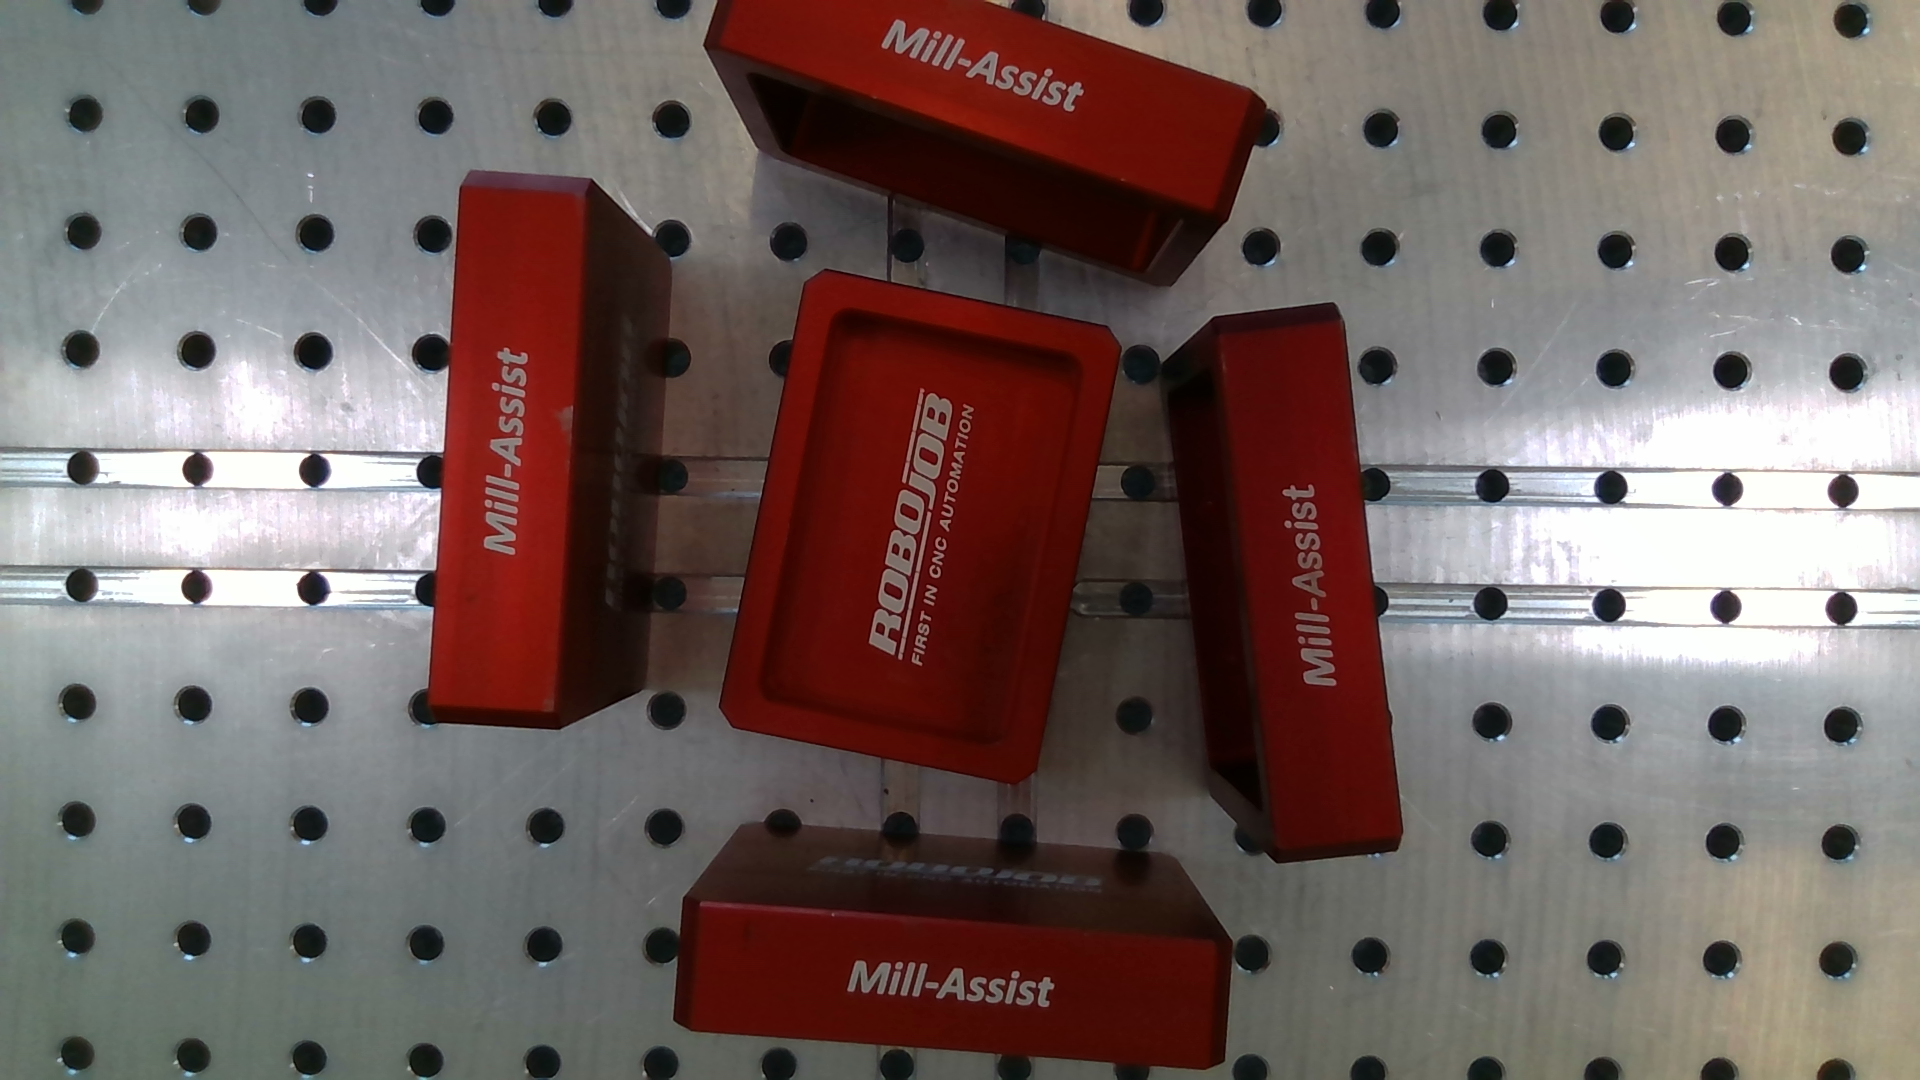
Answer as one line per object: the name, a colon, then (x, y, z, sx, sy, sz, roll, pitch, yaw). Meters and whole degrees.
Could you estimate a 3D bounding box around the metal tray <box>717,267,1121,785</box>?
metal tray: (-0.011, -0.004, 0.394, 0.090, 0.030, 0.130, 11, 90, 0)

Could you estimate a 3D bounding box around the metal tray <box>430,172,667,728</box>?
metal tray: (-0.105, -0.021, 0.365, 0.030, 0.090, 0.130, 4, 90, 0)

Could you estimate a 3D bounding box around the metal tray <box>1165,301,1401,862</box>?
metal tray: (0.081, 0.010, 0.365, 0.030, 0.090, 0.130, -6, 90, 0)

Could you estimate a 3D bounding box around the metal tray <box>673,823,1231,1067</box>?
metal tray: (-0.002, 0.104, 0.365, 0.130, 0.090, 0.030, 4, 90, 0)

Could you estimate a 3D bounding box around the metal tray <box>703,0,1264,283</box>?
metal tray: (0.005, -0.109, 0.365, 0.130, 0.090, 0.030, 18, 90, 0)
